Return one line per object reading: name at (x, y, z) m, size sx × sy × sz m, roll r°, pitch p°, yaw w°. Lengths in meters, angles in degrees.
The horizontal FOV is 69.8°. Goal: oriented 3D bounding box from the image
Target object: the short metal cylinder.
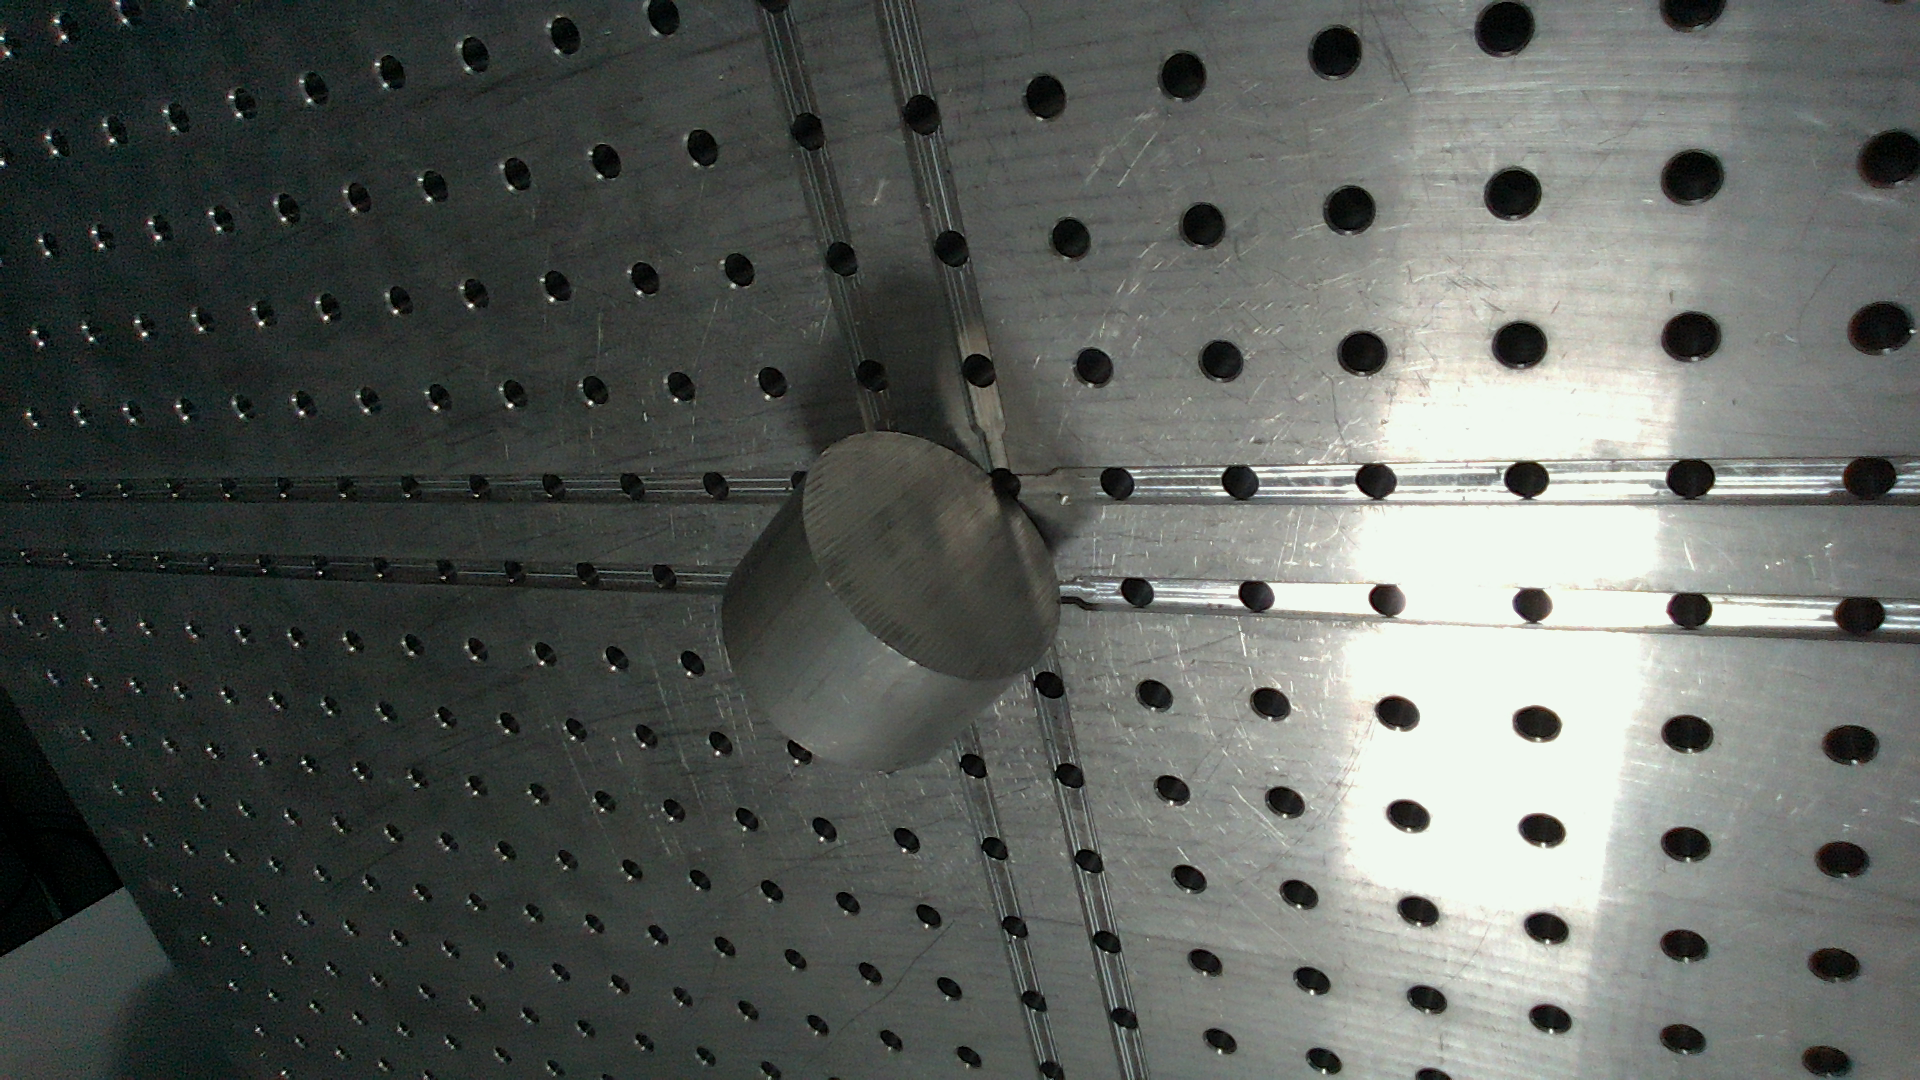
short metal cylinder at (-0.019, 0.017, 0.380) m, size 0.080 × 0.080 × 0.050 m, roll 42°, pitch 129°, yaw -1°
